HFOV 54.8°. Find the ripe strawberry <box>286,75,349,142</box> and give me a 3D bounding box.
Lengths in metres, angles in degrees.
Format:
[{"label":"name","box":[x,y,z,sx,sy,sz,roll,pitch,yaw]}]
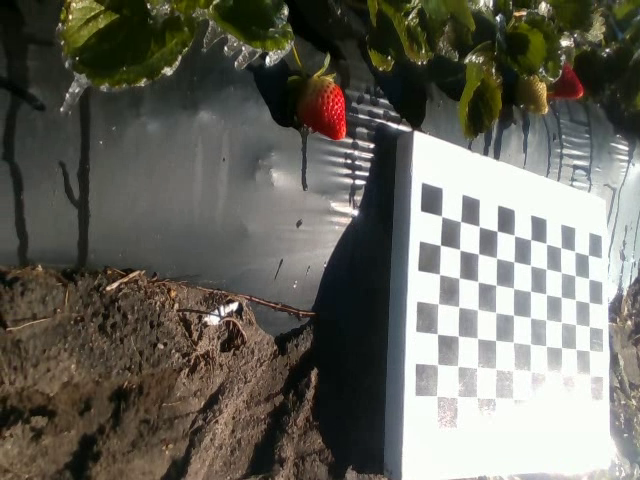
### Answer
[{"label":"ripe strawberry","box":[0.005,-0.090,0.428,0.039,0.053,0.040,-16,-13,-36]}]
